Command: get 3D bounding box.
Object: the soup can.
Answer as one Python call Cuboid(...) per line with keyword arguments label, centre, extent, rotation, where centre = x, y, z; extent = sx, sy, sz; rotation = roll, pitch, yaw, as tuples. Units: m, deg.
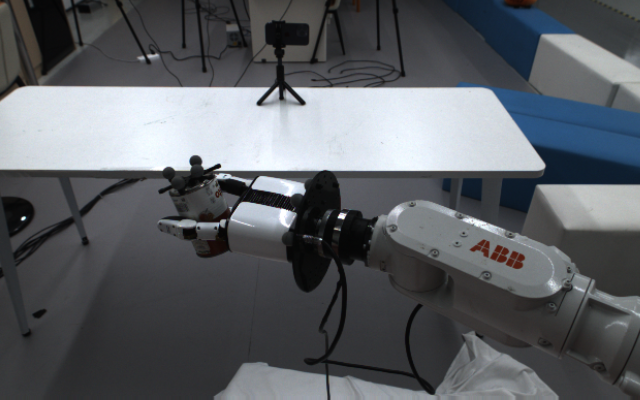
Cuboid(label="soup can", centre=(-0.157, 0.022, 0.674), extent=(0.067, 0.101, 0.067), rotation=(-16, 23, 7))
